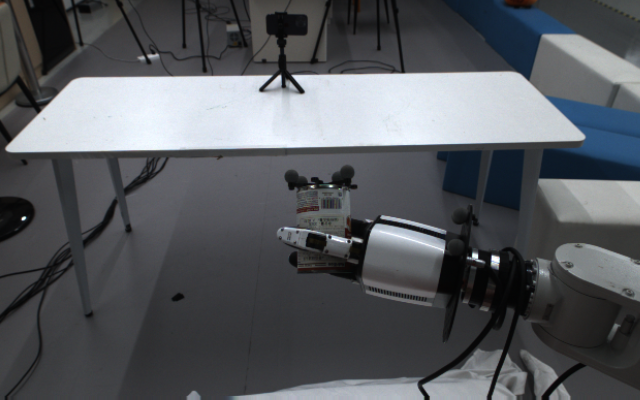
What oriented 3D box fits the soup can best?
[{"bbox_3d":[0.007,0.038,0.582,0.067,0.101,0.067,-1,-9,0],"label":"soup can"}]
